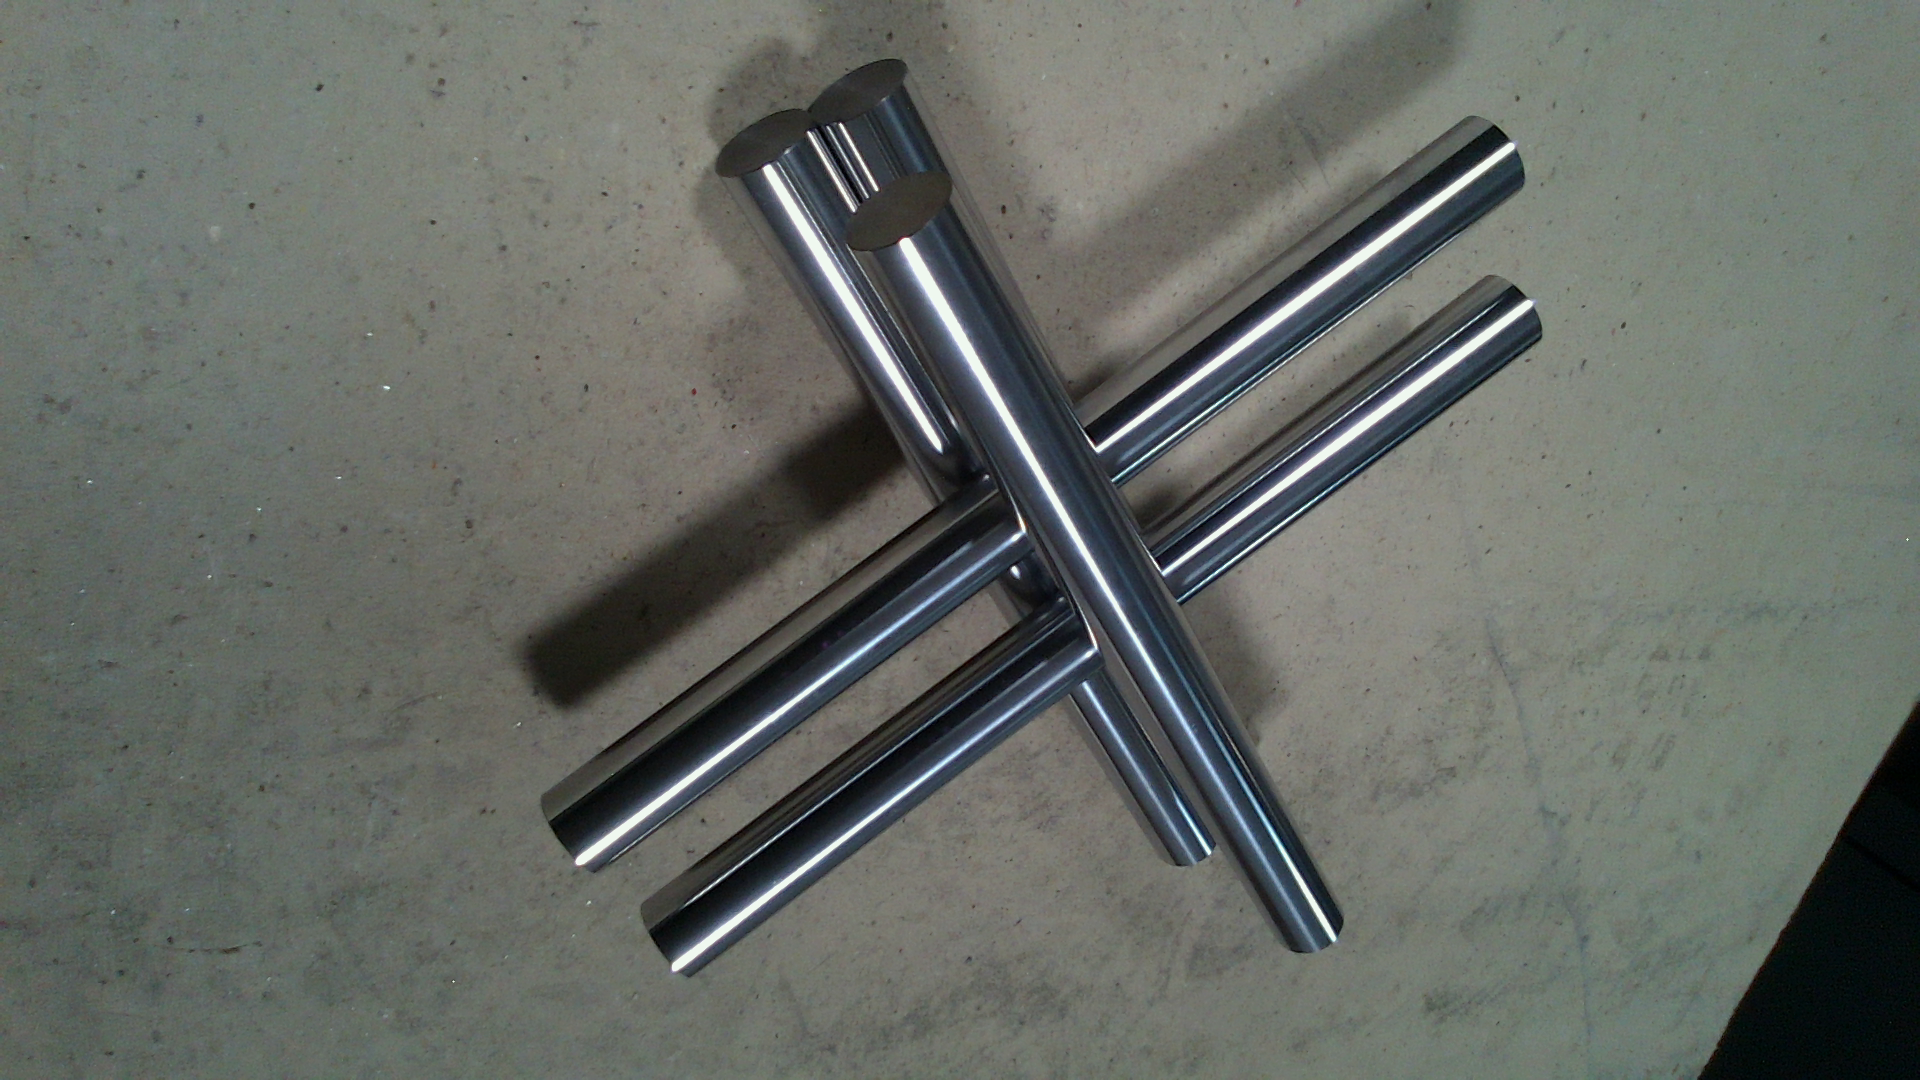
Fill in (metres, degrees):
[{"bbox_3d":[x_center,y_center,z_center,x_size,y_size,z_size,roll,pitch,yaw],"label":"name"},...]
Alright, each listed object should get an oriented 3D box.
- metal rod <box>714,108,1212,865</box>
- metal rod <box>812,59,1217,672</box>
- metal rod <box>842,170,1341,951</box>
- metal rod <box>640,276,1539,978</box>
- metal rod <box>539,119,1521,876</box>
[{"bbox_3d":[0.019,0.009,0.404,0.025,0.025,0.301,-36,129,-4],"label":"metal rod"},{"bbox_3d":[0.040,-0.004,0.408,0.025,0.025,0.301,-36,129,-4],"label":"metal rod"},{"bbox_3d":[0.052,0.031,0.371,0.025,0.025,0.301,-37,129,-4],"label":"metal rod"},{"bbox_3d":[0.040,0.022,0.392,0.300,0.025,0.025,-36,129,-4],"label":"metal rod"},{"bbox_3d":[0.022,-0.014,0.360,0.300,0.025,0.025,-36,129,-4],"label":"metal rod"}]
